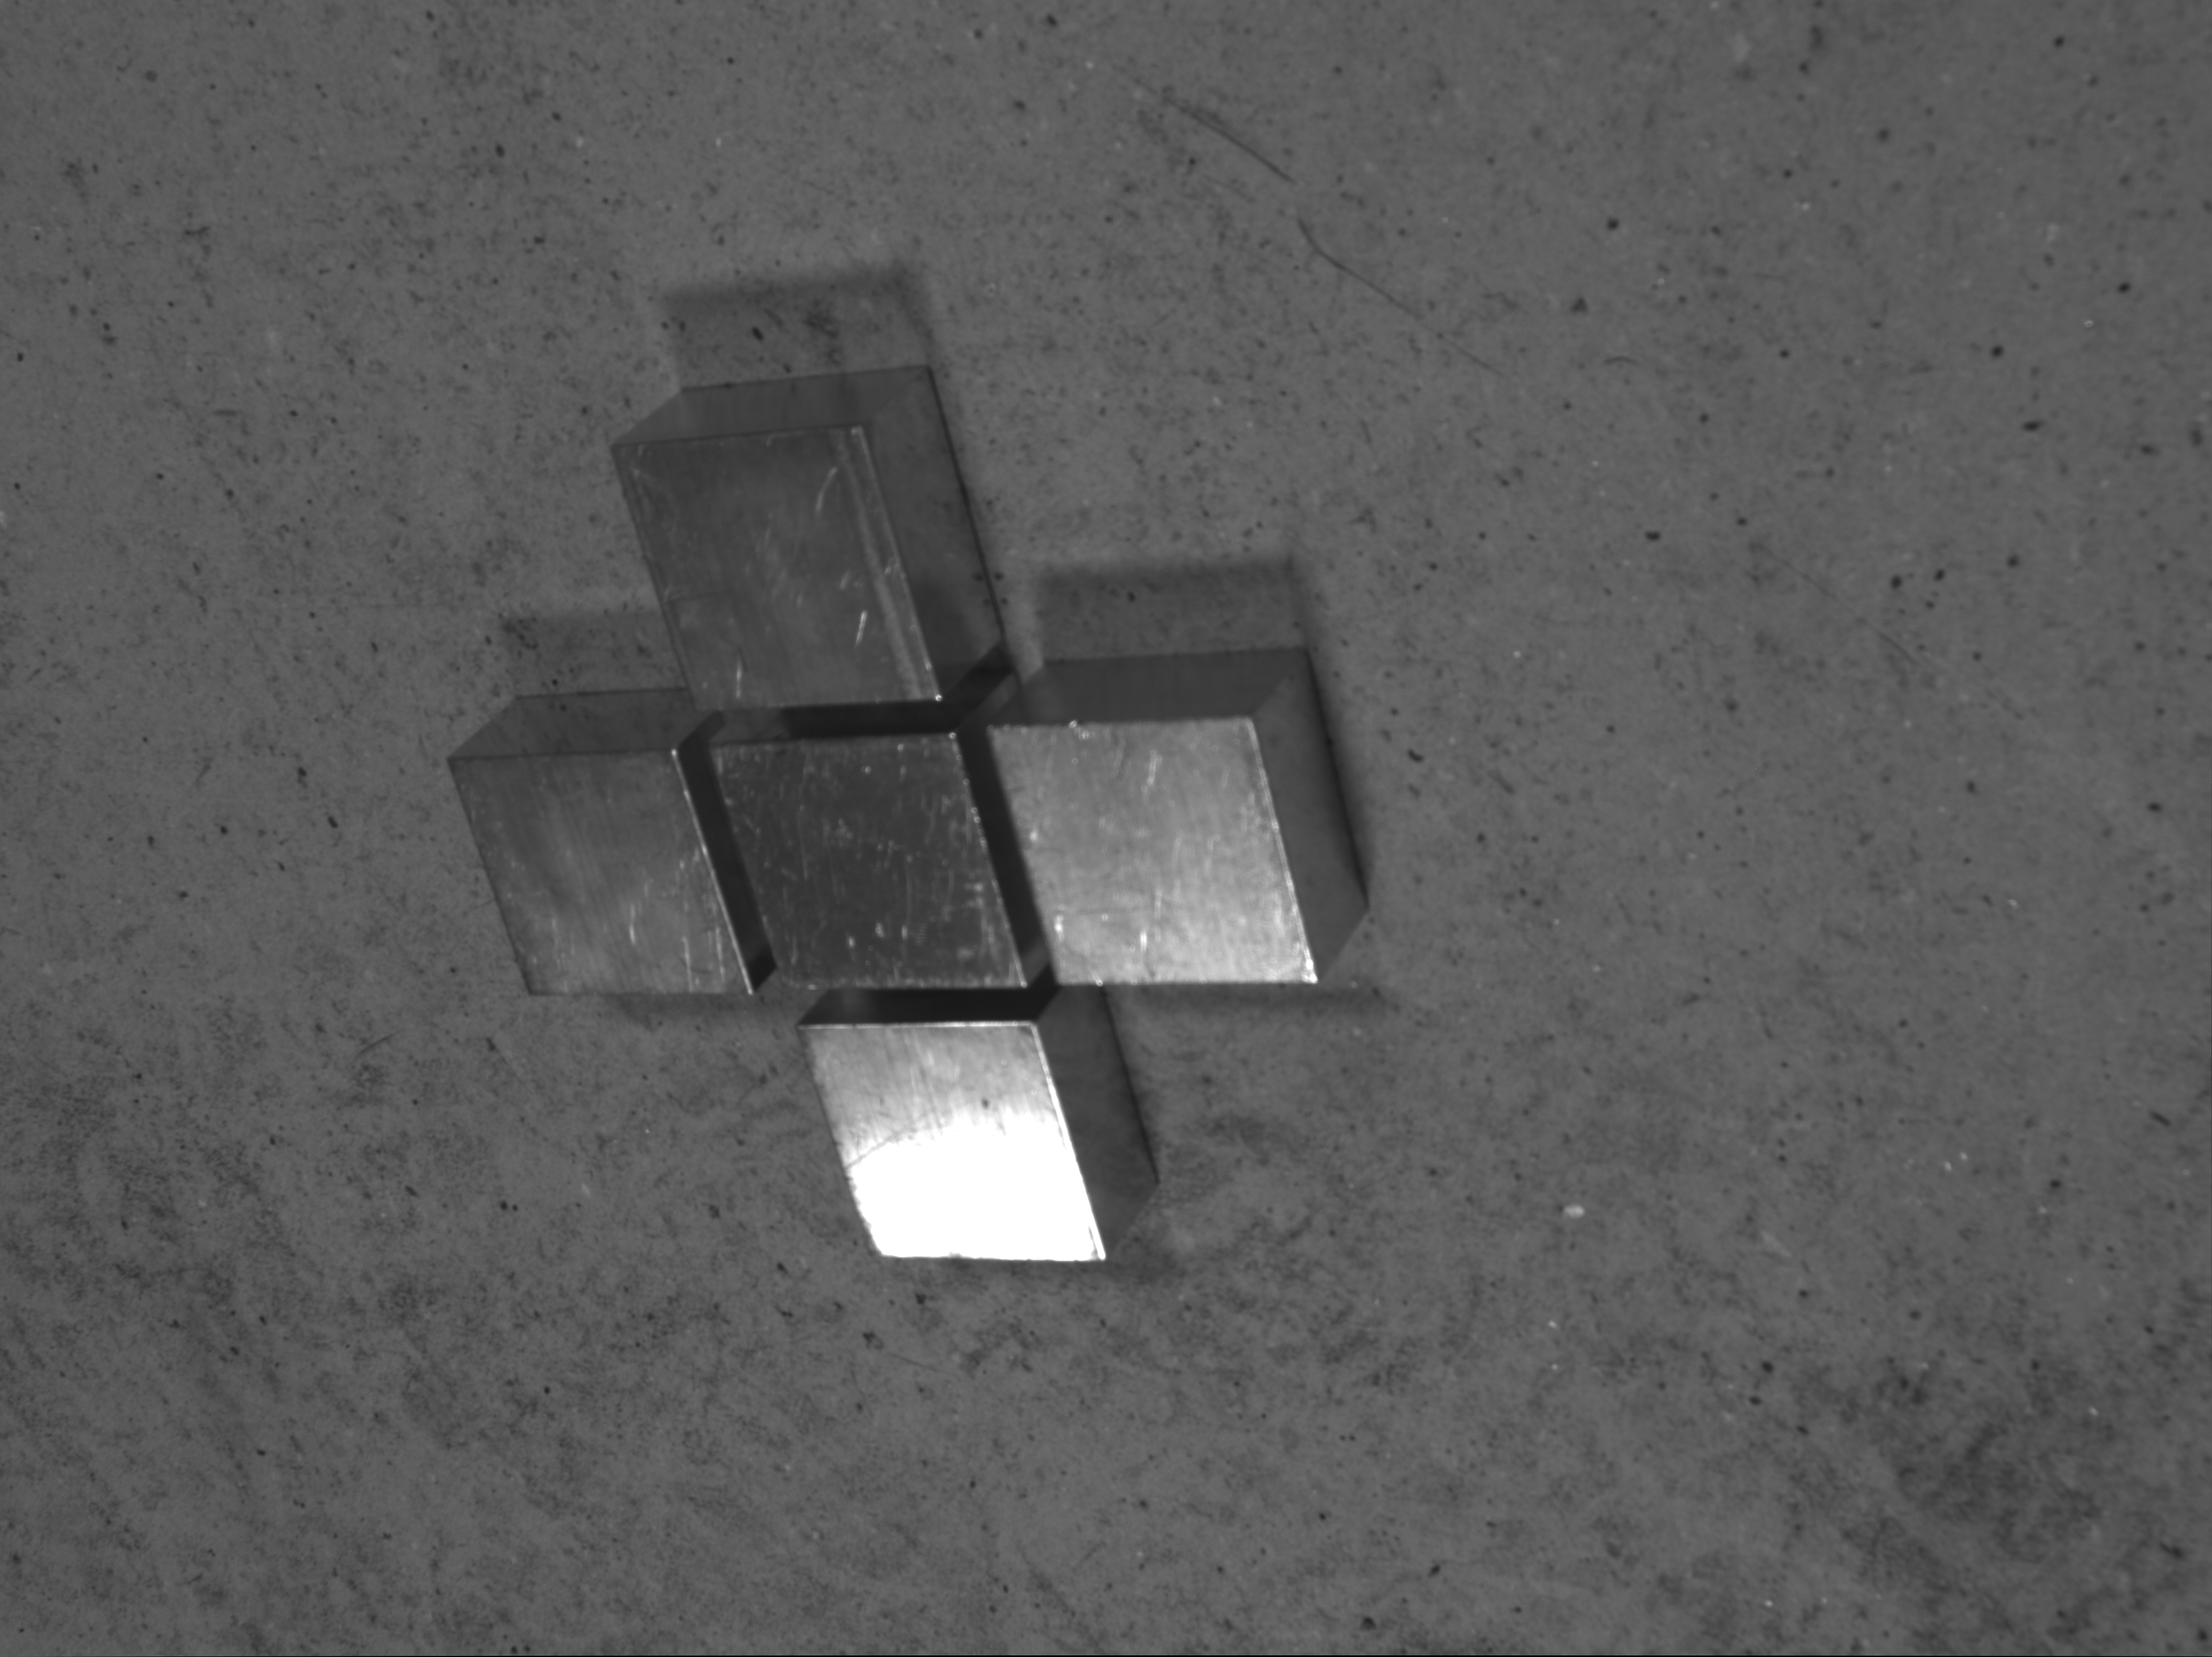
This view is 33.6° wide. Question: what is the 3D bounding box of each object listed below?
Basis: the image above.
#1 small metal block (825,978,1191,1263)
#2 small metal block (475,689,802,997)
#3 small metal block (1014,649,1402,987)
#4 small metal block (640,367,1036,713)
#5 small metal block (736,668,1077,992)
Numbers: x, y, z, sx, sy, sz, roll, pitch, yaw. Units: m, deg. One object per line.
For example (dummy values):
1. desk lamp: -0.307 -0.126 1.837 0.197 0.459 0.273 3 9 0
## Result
1. small metal block: -0.018 0.051 0.671 0.050 0.025 0.050 -2 117 28
2. small metal block: -0.081 0.003 0.674 0.050 0.025 0.050 -2 117 28
3. small metal block: 0.018 -0.001 0.622 0.050 0.025 0.050 -2 117 28
4. small metal block: -0.045 -0.049 0.625 0.050 0.025 0.050 -2 117 28
5. small metal block: -0.031 0.001 0.648 0.050 0.025 0.050 -2 117 28
